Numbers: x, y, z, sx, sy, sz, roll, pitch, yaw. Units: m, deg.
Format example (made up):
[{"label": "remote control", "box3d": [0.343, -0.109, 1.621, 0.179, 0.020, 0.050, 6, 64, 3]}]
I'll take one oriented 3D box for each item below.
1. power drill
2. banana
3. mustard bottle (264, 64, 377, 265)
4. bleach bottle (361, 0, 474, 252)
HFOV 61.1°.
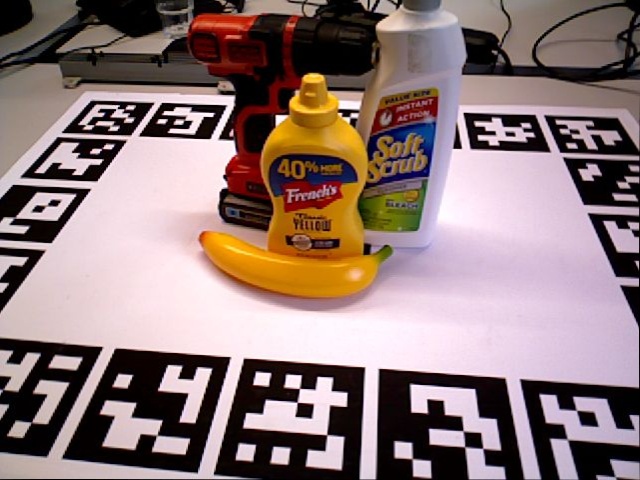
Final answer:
[{"label": "power drill", "box3d": [-0.032, -0.122, 0.516, 0.185, 0.191, 0.056, 13, 43, 14]}, {"label": "banana", "box3d": [-0.023, 0.026, 0.513, 0.197, 0.039, 0.072, 5, 44, 11]}, {"label": "mustard bottle", "box3d": [0.000, -0.057, 0.474, 0.096, 0.196, 0.057, 5, 42, 5]}, {"label": "bleach bottle", "box3d": [0.076, -0.109, 0.492, 0.102, 0.256, 0.066, 6, 37, 8]}]
